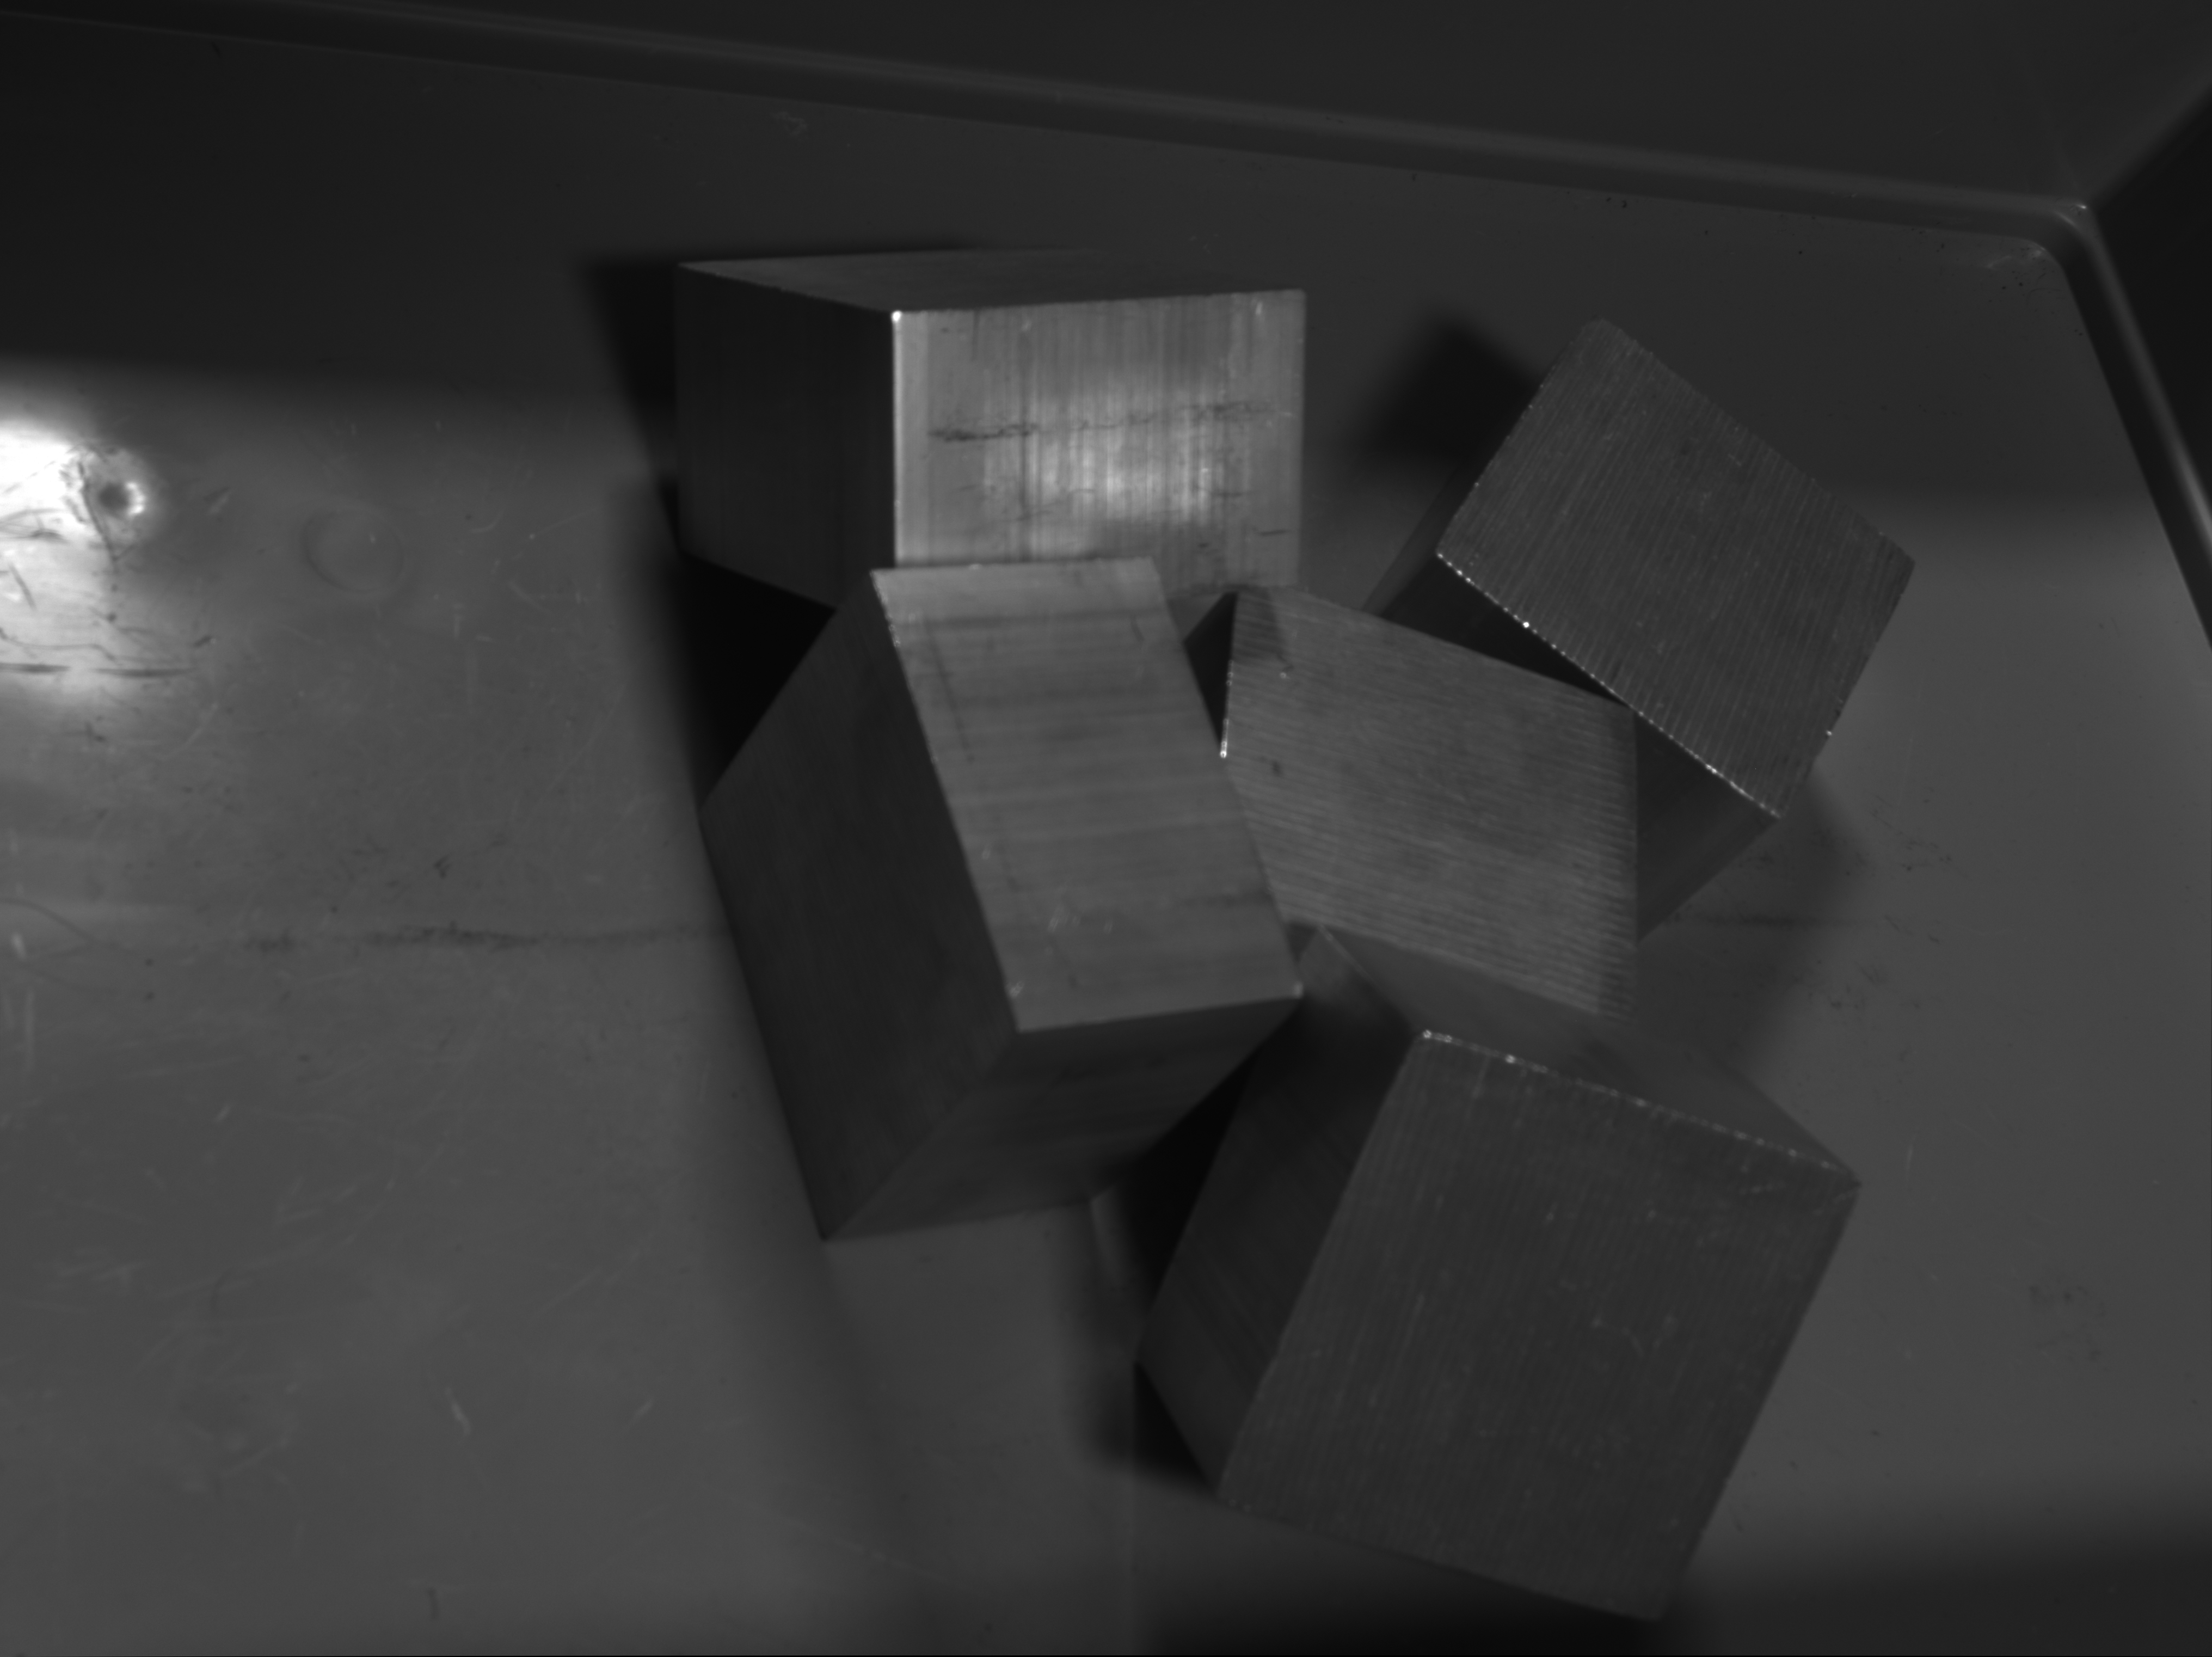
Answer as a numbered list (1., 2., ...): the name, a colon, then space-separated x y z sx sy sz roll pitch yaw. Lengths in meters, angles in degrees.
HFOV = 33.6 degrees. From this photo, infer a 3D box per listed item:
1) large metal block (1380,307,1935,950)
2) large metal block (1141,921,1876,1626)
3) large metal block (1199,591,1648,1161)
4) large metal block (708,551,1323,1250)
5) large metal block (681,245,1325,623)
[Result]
1. large metal block: 0.100 -0.039 0.700 0.080 0.050 0.080 38 51 -3
2. large metal block: 0.062 0.071 0.585 0.080 0.080 0.050 19 12 -19
3. large metal block: 0.047 0.013 0.641 0.080 0.050 0.080 18 55 -18
4. large metal block: -0.017 0.012 0.587 0.050 0.080 0.080 -6 64 -31
5. large metal block: -0.019 -0.070 0.628 0.080 0.080 0.050 -8 107 -31
